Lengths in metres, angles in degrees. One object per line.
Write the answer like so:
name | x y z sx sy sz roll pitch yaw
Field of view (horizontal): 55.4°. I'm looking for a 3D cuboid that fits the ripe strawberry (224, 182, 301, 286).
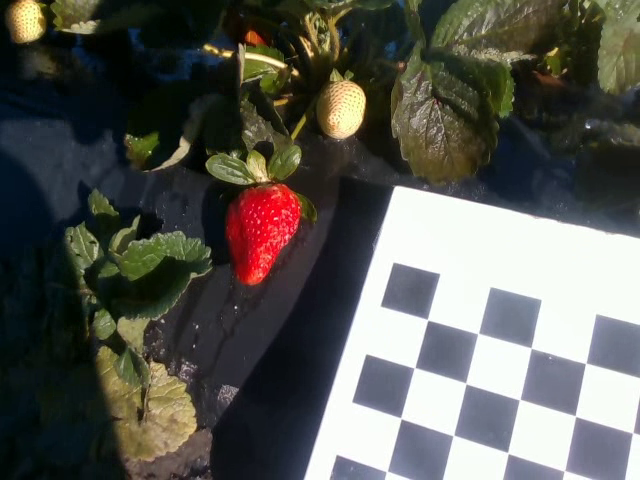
ripe strawberry | -0.032 -0.002 0.324 0.048 0.069 0.040 -3 -26 9
